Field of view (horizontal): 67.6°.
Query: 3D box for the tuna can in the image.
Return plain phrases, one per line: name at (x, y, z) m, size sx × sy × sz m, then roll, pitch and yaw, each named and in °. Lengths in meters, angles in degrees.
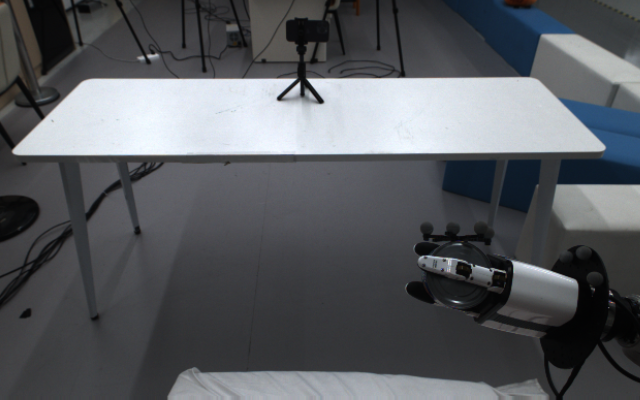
tuna can at (0.178, 0.095, 0.624) m, size 0.085 × 0.034 × 0.085 m, roll 0°, pitch 74°, yaw 1°
